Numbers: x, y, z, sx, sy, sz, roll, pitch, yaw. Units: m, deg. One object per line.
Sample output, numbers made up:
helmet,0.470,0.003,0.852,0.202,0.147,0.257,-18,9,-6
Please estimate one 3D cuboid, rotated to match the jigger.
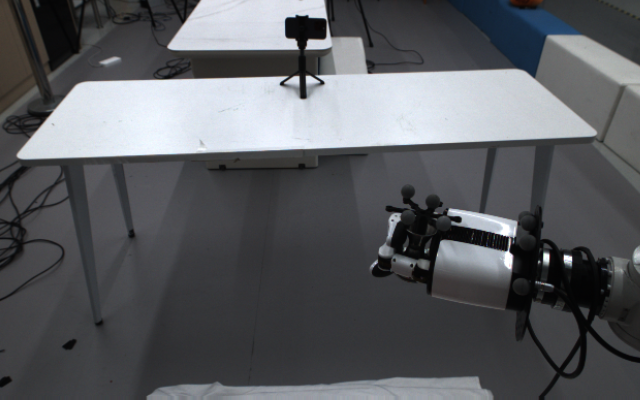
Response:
jigger,0.119,0.063,0.600,0.043,0.071,0.043,6,26,-3
